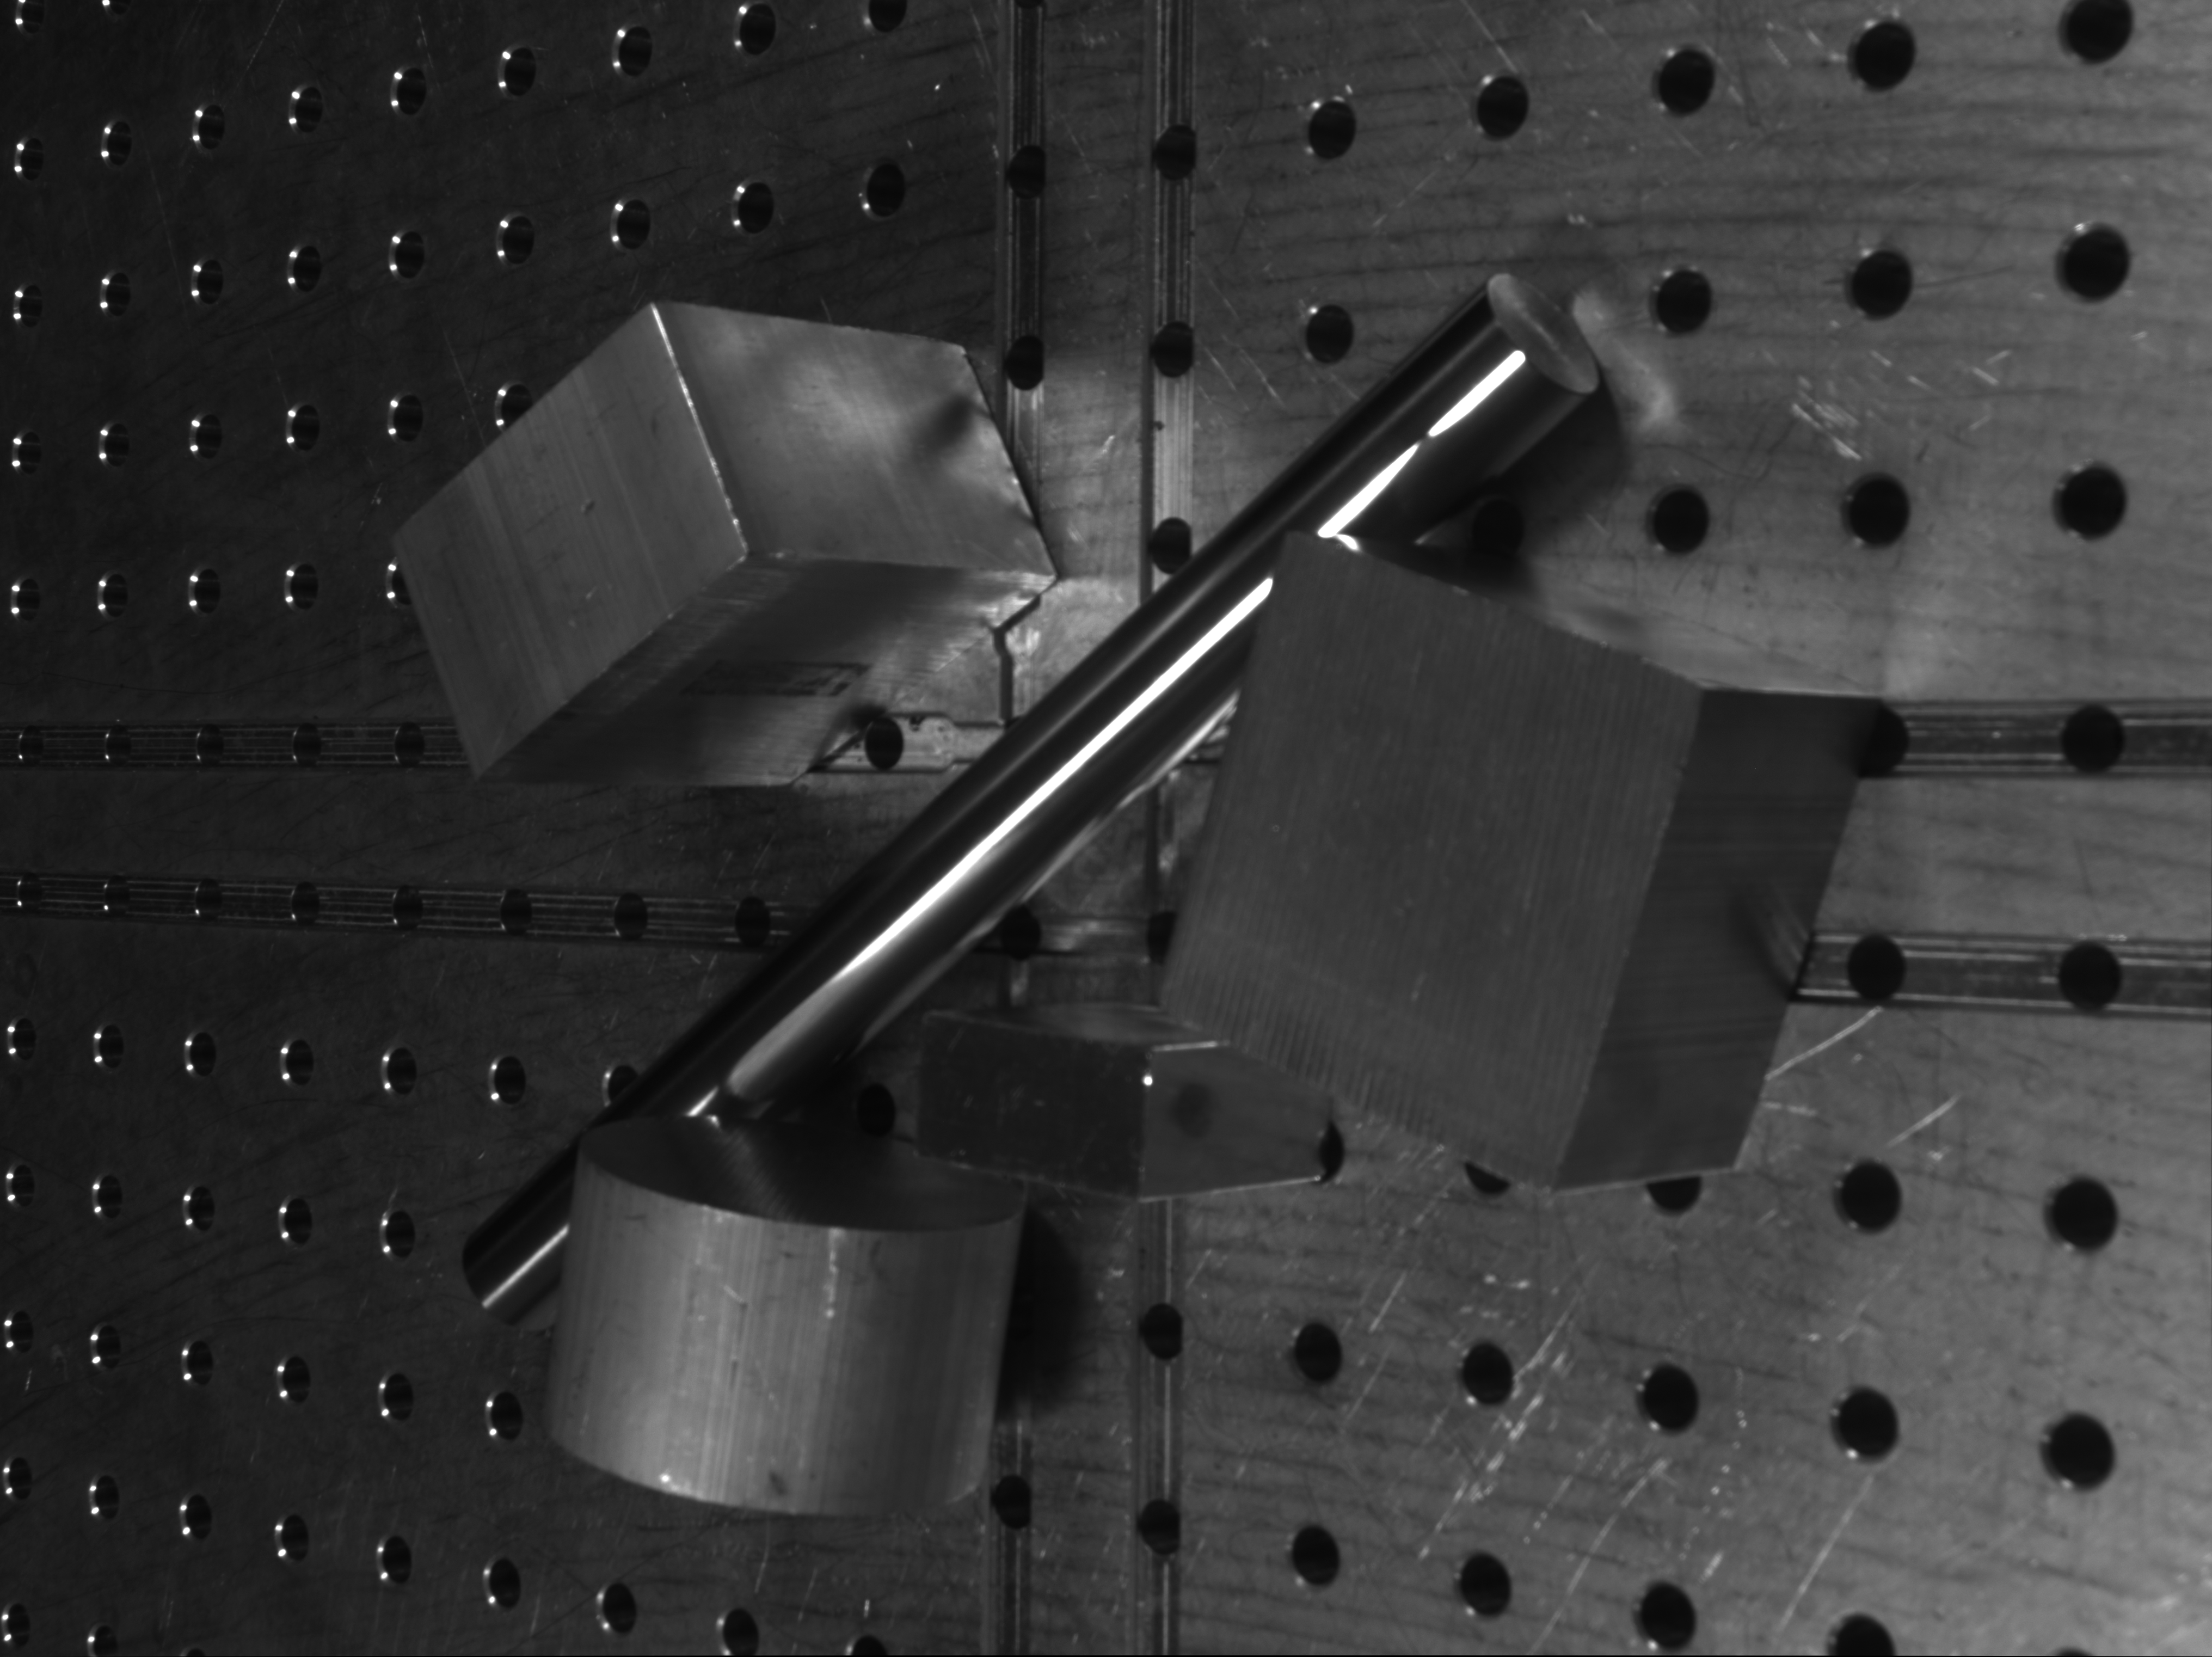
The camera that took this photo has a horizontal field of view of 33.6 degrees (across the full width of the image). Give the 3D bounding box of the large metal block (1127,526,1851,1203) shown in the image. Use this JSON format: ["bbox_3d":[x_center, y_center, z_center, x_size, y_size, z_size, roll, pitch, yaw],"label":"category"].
[{"bbox_3d":[0.059,0.004,0.572,0.080,0.050,0.080,24,105,37],"label":"large metal block"}]

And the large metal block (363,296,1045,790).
[{"bbox_3d":[-0.073,-0.049,0.665,0.080,0.080,0.050,-35,68,34],"label":"large metal block"}]

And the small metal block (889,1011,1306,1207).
[{"bbox_3d":[-0.001,0.046,0.624,0.050,0.050,0.025,7,94,39],"label":"small metal block"}]

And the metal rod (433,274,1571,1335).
[{"bbox_3d":[-0.030,0.006,0.663,0.300,0.025,0.025,-42,65,31],"label":"metal rod"}]

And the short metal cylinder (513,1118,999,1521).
[{"bbox_3d":[-0.063,0.086,0.654,0.080,0.080,0.050,15,99,38],"label":"short metal cylinder"}]
